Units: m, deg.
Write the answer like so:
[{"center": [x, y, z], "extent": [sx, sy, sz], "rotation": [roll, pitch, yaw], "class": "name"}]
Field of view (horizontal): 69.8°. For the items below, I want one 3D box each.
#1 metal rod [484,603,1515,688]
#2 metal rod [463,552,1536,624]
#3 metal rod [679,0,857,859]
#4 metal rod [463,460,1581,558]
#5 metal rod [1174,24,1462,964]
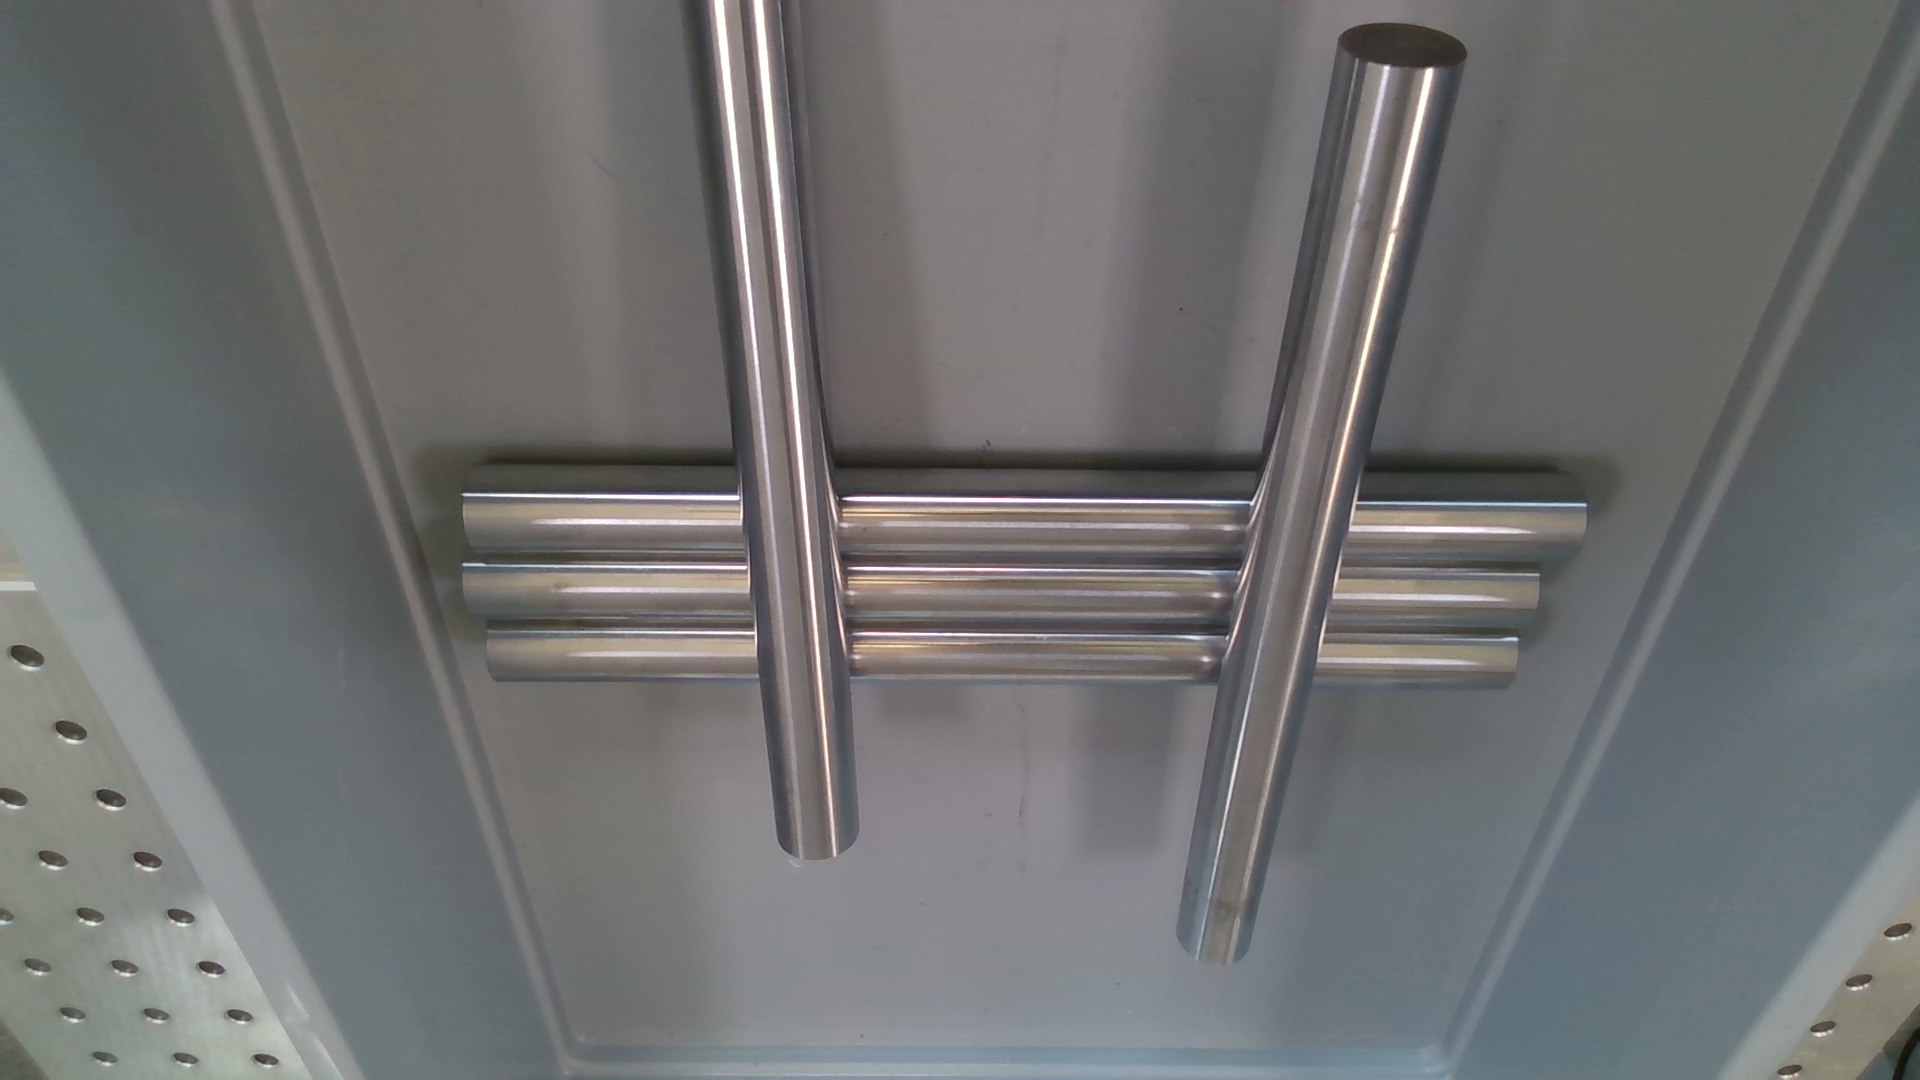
[{"center": [0.012, 0.031, 0.413], "extent": [0.300, 0.025, 0.025], "rotation": [1, 130, 0], "class": "metal rod"}, {"center": [0.011, 0.010, 0.397], "extent": [0.300, 0.025, 0.025], "rotation": [1, 130, 0], "class": "metal rod"}, {"center": [-0.045, -0.039, 0.331], "extent": [0.025, 0.025, 0.301], "rotation": [0, 123, 0], "class": "metal rod"}, {"center": [0.017, -0.008, 0.381], "extent": [0.300, 0.025, 0.025], "rotation": [0, 130, 0], "class": "metal rod"}, {"center": [0.086, 0.017, 0.370], "extent": [0.025, 0.025, 0.301], "rotation": [0, 130, 0], "class": "metal rod"}]
